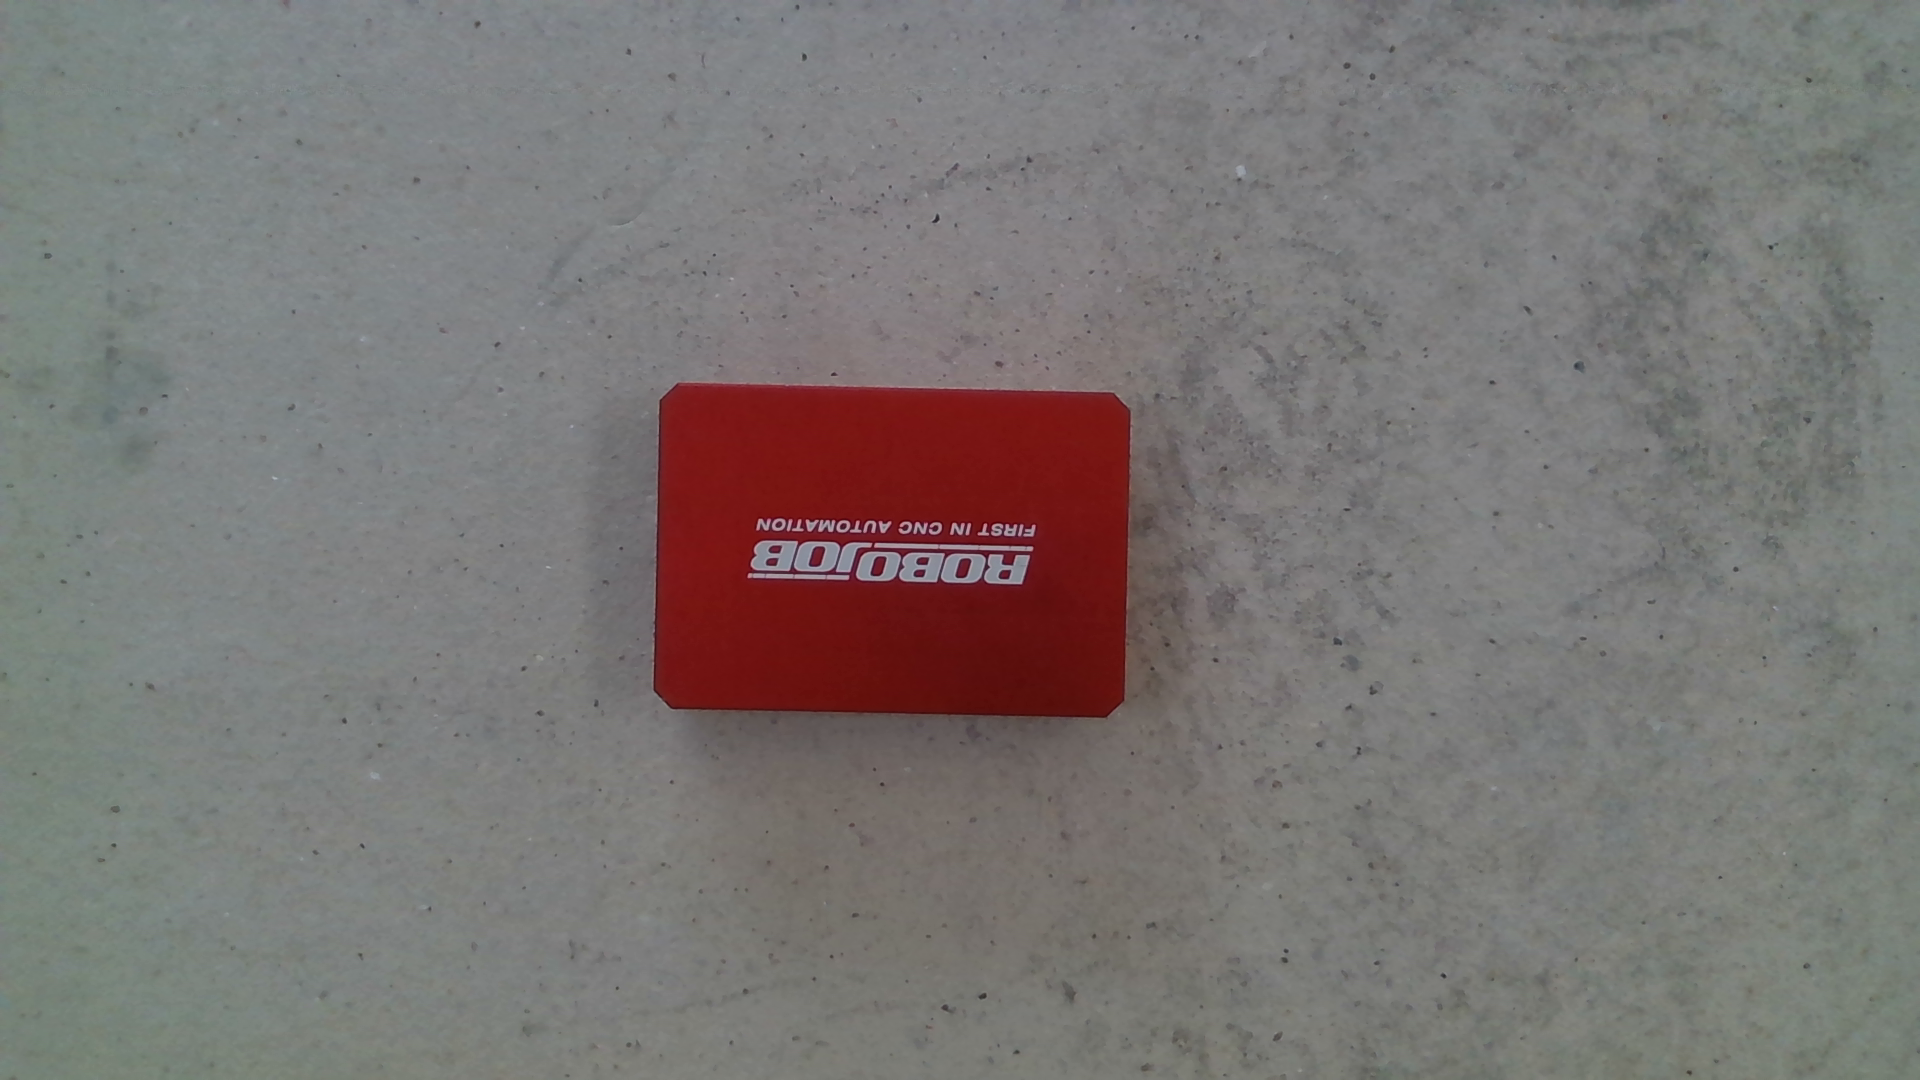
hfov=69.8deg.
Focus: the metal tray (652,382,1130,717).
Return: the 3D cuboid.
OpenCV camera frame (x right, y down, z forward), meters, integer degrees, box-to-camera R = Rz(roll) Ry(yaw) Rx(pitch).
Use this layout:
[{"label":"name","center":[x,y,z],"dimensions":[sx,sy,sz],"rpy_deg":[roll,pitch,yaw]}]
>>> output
[{"label":"metal tray","center":[-0.019,0.003,0.392],"dimensions":[0.130,0.030,0.090],"rpy_deg":[1,91,1]}]
